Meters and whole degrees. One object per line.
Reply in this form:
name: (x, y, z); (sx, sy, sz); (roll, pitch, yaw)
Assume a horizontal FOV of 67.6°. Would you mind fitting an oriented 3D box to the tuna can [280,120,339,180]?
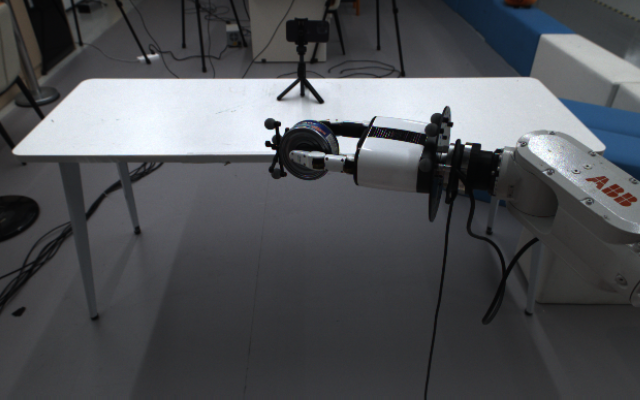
tuna can: (-0.016, -0.076, 0.721); (0.085, 0.085, 0.034); (12, 28, 14)
